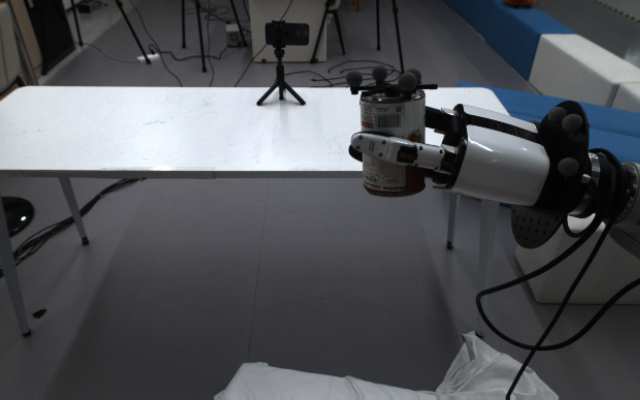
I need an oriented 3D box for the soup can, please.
[{"bbox_3d":[0.079,-0.063,0.513,0.067,0.101,0.067,-4,21,2],"label":"soup can"}]
